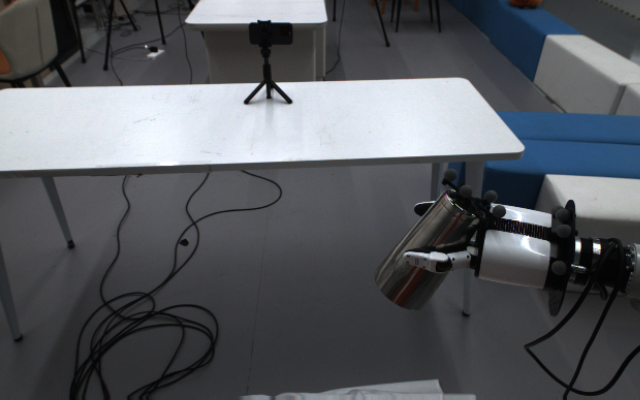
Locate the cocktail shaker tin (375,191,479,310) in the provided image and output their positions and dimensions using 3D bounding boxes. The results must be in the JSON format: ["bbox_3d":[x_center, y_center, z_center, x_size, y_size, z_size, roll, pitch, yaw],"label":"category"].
[{"bbox_3d":[0.163,0.065,0.707,0.093,0.170,0.093,25,29,-15],"label":"cocktail shaker tin"}]
